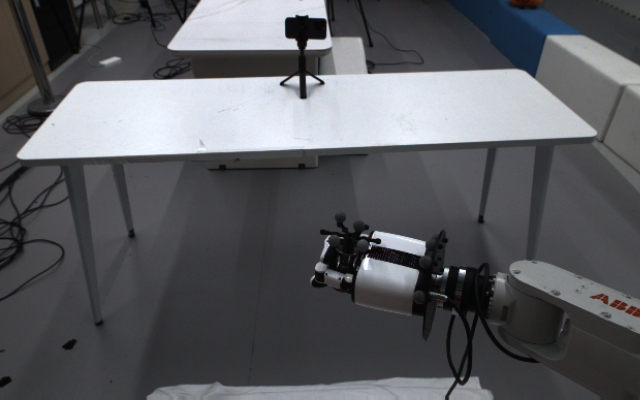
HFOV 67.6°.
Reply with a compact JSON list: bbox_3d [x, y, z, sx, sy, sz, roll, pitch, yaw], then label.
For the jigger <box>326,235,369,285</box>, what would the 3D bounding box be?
[{"bbox_3d":[0.041,0.098,0.724,0.043,0.071,0.043,6,26,-3],"label":"jigger"}]
